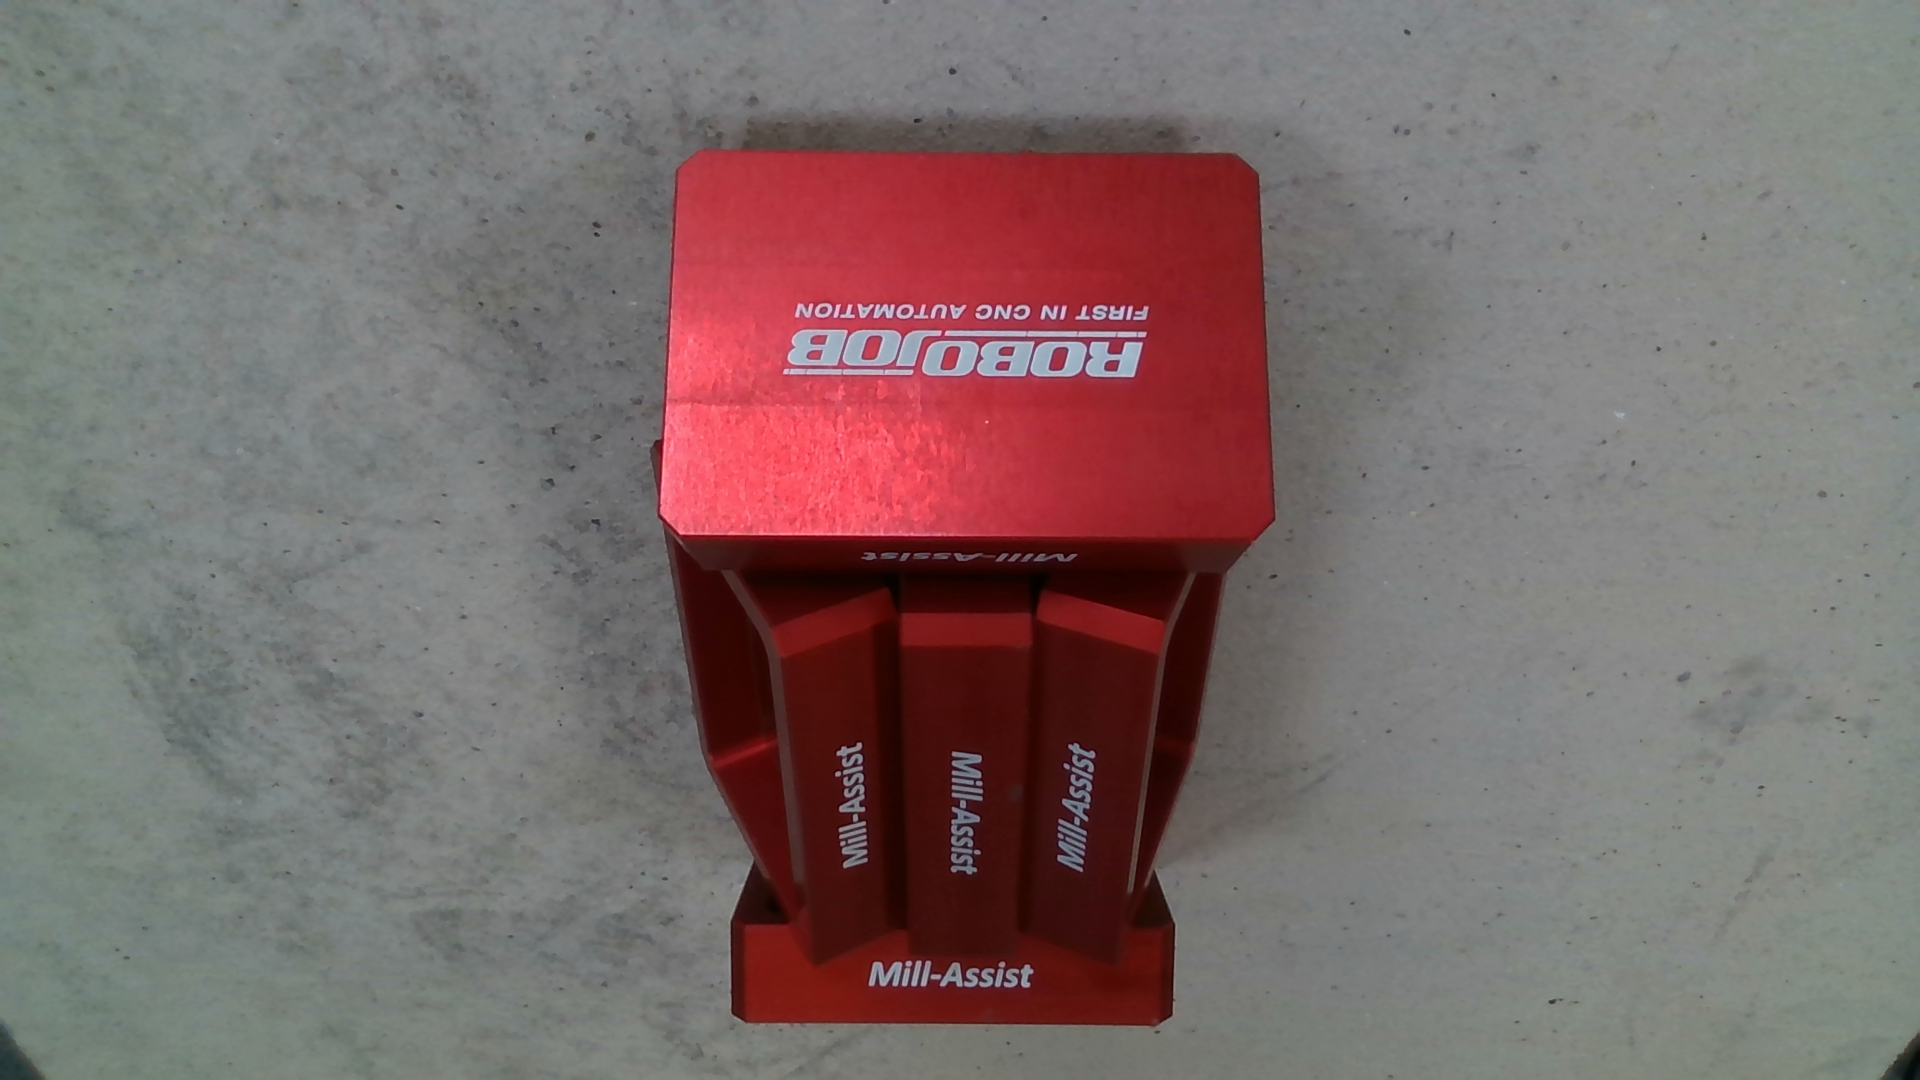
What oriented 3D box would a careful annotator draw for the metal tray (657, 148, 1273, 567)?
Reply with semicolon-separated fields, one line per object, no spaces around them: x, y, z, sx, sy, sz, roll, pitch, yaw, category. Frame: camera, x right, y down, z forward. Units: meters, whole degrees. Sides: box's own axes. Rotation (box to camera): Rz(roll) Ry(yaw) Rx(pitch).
0.001;-0.041;0.313;0.130;0.090;0.030;0;167;0;metal tray

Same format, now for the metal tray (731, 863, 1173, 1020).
-0.003;0.120;0.446;0.130;0.090;0.030;1;98;0;metal tray

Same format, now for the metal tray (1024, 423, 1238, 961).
0.047;0.040;0.378;0.030;0.090;0.130;15;132;17;metal tray

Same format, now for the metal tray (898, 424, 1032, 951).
0.001;0.040;0.380;0.030;0.090;0.130;0;130;0;metal tray

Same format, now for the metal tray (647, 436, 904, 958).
-0.049;0.041;0.380;0.030;0.090;0.130;-19;134;-22;metal tray
